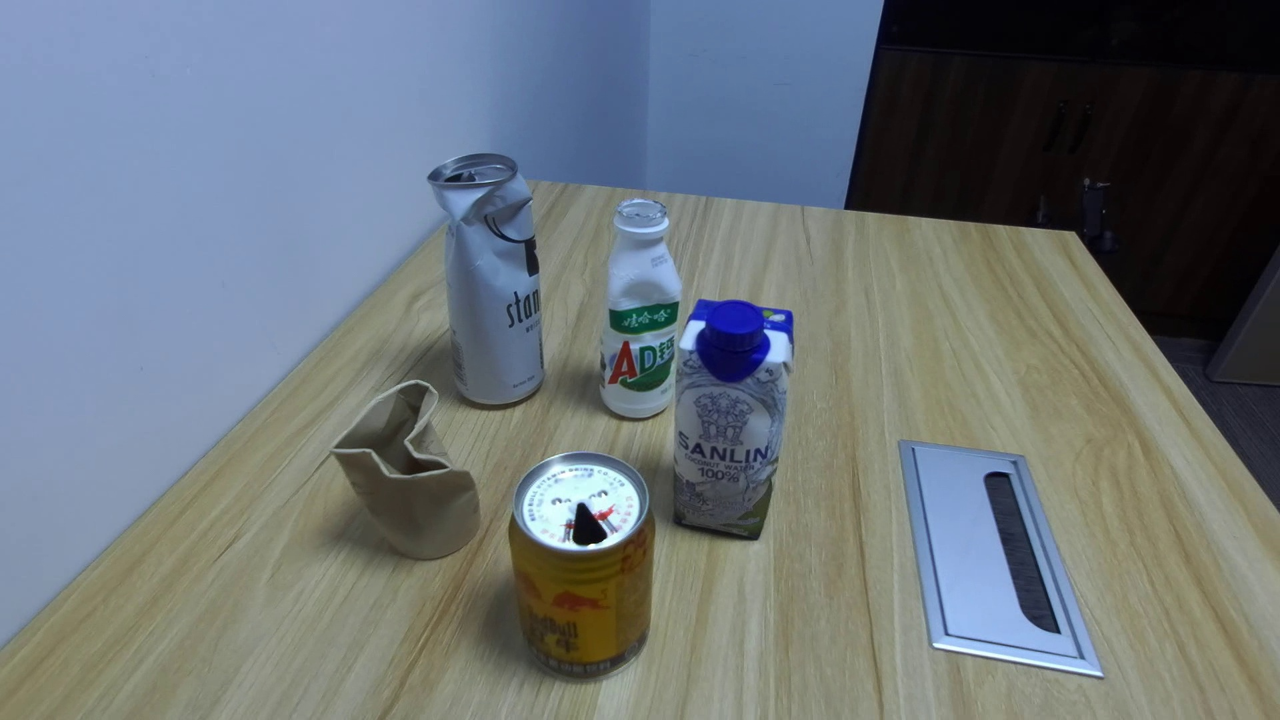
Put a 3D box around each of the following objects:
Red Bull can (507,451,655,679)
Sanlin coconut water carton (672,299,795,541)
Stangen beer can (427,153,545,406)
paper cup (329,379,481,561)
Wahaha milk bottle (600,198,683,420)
[{"bbox_3d":[-0.026,0.100,0.337,0.067,0.093,0.067,2,33,-1],"label":"Red Bull can"},{"bbox_3d":[0.050,0.029,0.389,0.060,0.144,0.061,8,35,11],"label":"Sanlin coconut water carton"},{"bbox_3d":[-0.102,-0.049,0.480,0.066,0.166,0.065,-28,44,-34],"label":"Stangen beer can"},{"bbox_3d":[-0.117,0.065,0.389,0.058,0.083,0.066,13,39,13],"label":"paper cup"},{"bbox_3d":[0.000,-0.033,0.473,0.055,0.149,0.055,1,35,0],"label":"Wahaha milk bottle"}]
